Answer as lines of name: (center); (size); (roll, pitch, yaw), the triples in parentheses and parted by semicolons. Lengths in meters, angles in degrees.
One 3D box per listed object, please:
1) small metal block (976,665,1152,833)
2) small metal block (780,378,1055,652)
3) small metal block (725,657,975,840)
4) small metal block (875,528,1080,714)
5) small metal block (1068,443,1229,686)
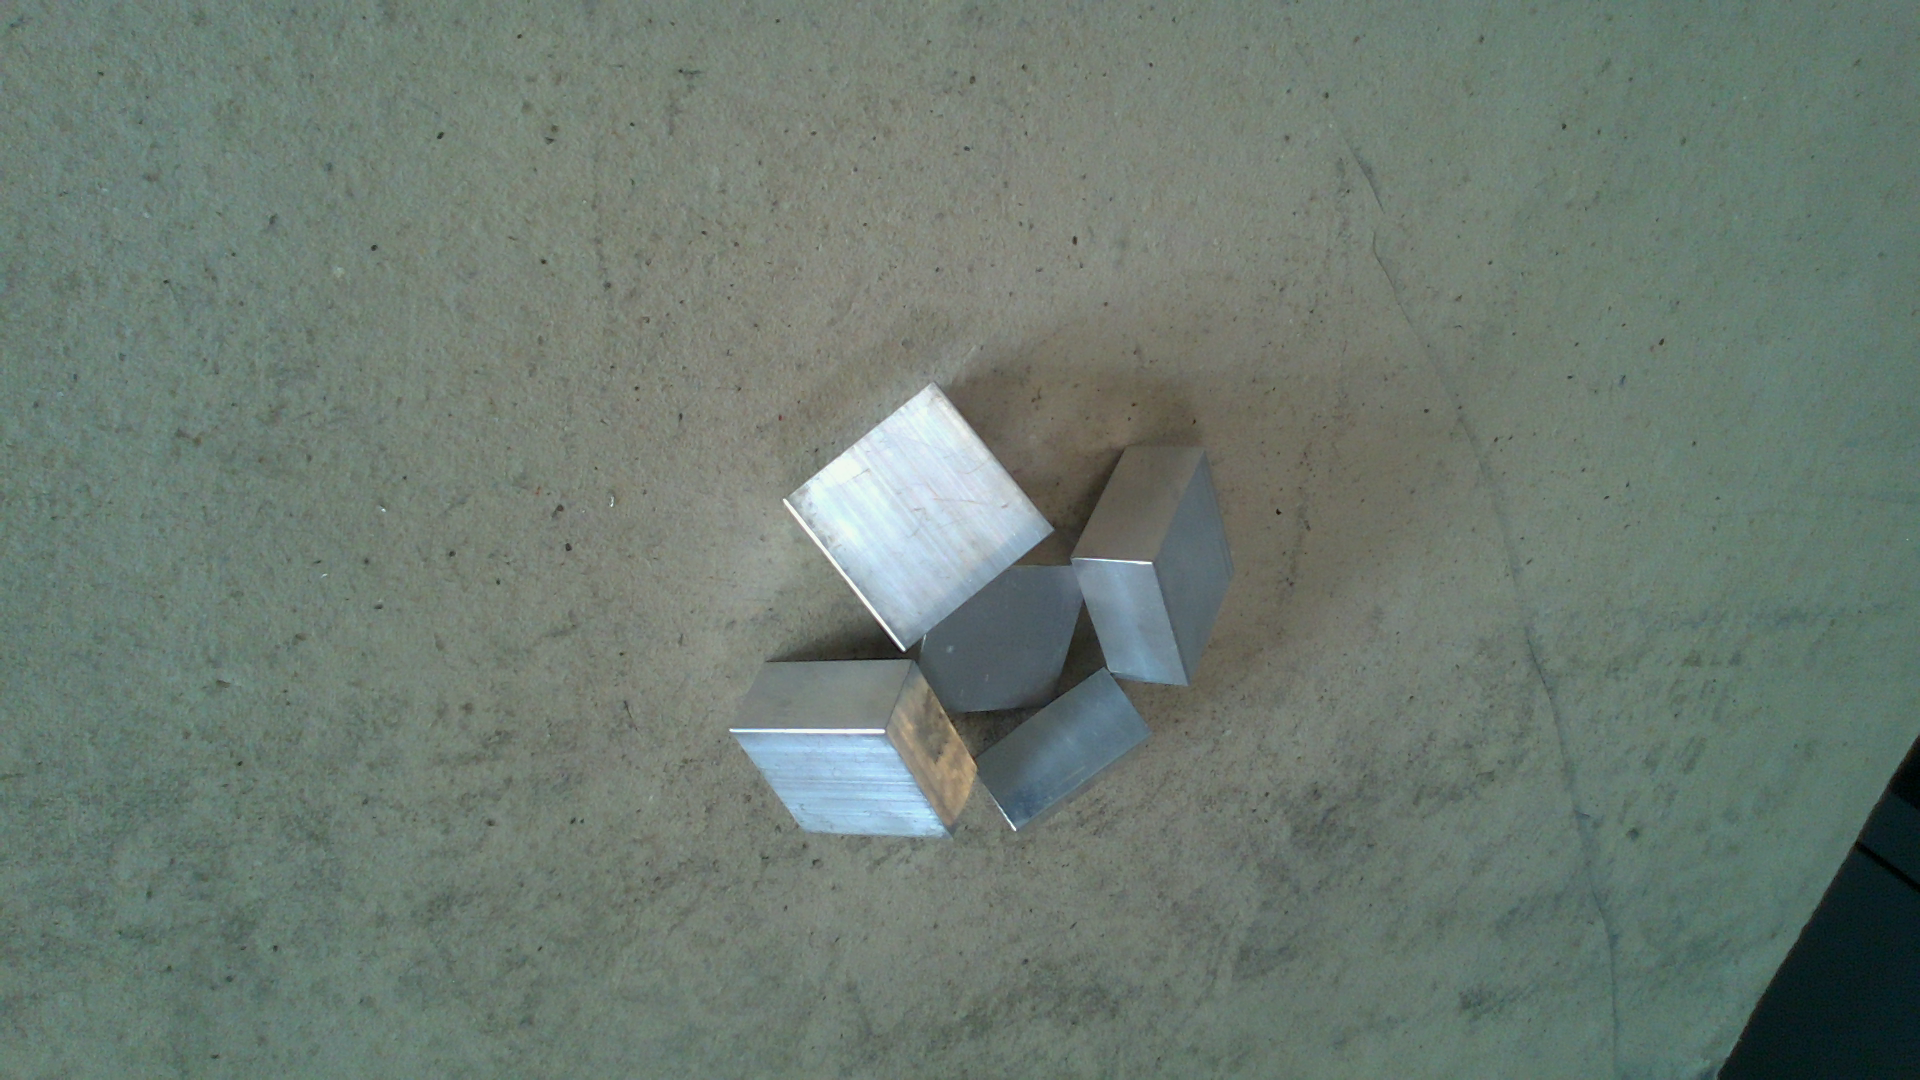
small metal block: (0.031, 0.068, 0.432); (0.050, 0.025, 0.050); (-35, 167, -5)
small metal block: (-0.011, -0.006, 0.364); (0.050, 0.025, 0.050); (-39, 88, -3)
small metal block: (-0.030, 0.060, 0.393); (0.050, 0.025, 0.050); (-4, 134, 26)
small metal block: (0.006, 0.023, 0.407); (0.050, 0.025, 0.050); (-1, 119, -29)
small metal block: (0.058, 0.007, 0.410); (0.050, 0.025, 0.050); (-61, 143, -39)
